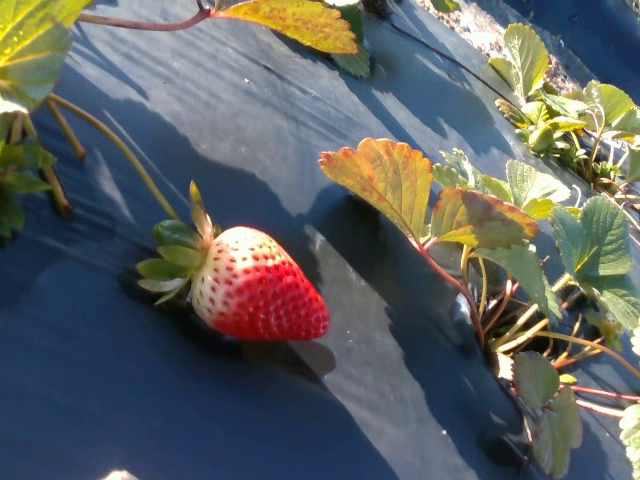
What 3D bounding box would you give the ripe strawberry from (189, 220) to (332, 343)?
[{"bbox_3d":[-0.017,0.018,0.211,0.064,0.044,0.043,29,-1,-8],"label":"ripe strawberry"}]
